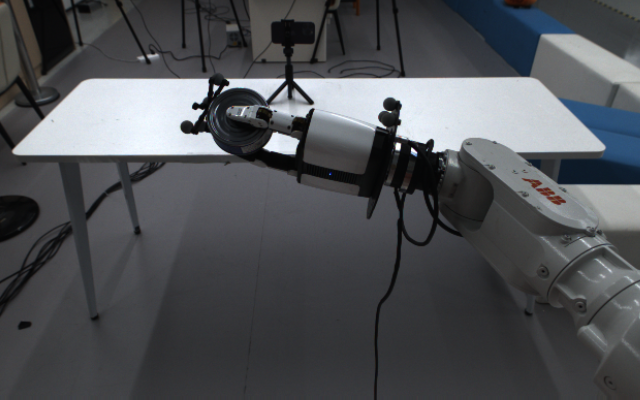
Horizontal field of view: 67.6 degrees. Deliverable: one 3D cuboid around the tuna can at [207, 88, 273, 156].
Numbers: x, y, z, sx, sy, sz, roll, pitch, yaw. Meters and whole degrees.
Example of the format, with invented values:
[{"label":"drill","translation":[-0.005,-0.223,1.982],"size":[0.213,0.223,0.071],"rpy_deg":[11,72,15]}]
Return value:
[{"label":"tuna can","translation":[-0.105,-0.106,0.645],"size":[0.085,0.034,0.085],"rpy_deg":[0,75,-2]}]
